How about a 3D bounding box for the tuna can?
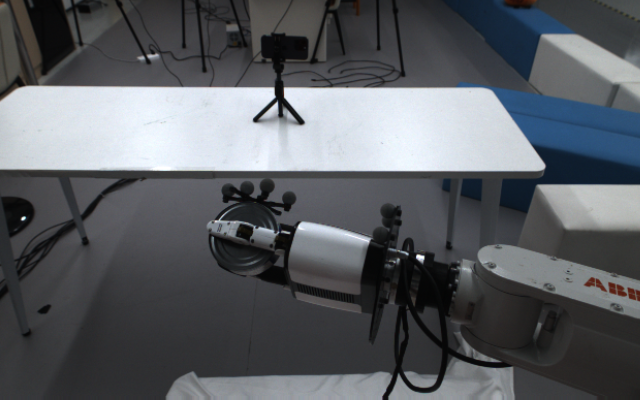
[{"bbox_3d":[-0.086,0.046,0.583,0.085,0.034,0.085,-3,69,7],"label":"tuna can"}]
